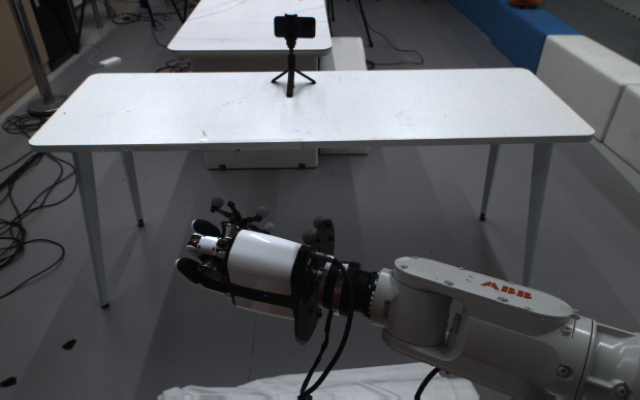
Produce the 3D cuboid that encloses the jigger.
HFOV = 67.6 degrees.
[{"bbox_3d":[-0.125,0.070,0.643,0.043,0.043,0.071,13,58,16],"label":"jigger"}]
